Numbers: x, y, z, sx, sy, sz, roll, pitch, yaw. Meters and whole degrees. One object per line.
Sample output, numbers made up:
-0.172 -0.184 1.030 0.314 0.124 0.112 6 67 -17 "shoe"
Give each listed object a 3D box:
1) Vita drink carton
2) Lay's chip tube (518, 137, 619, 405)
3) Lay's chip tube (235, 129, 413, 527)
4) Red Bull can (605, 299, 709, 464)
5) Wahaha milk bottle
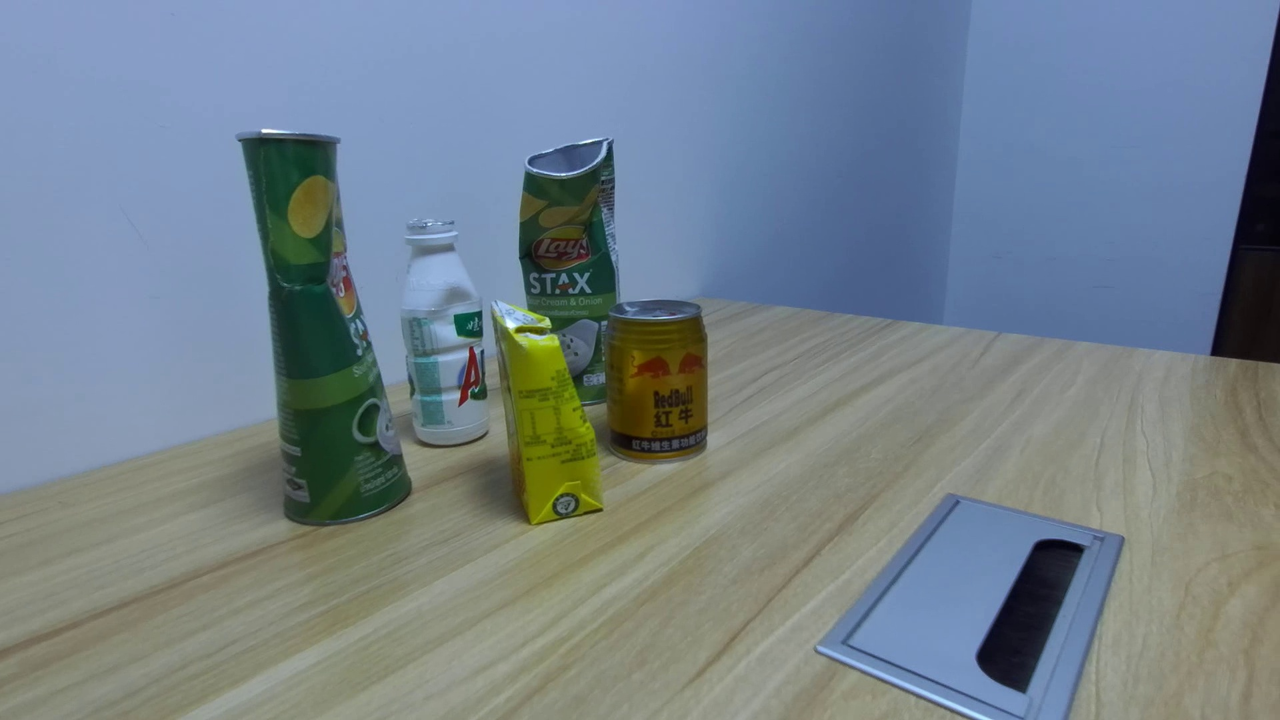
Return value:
-0.050 0.024 0.385 0.046 0.109 0.071 -9 17 -16 "Vita drink carton"
-0.049 -0.062 0.537 0.079 0.199 0.071 -8 24 -15 "Lay's chip tube"
-0.171 -0.015 0.378 0.074 0.199 0.069 9 19 35 "Lay's chip tube"
0.011 0.012 0.454 0.067 0.093 0.067 -1 14 1 "Red Bull can"
-0.131 -0.018 0.473 0.055 0.149 0.055 -1 15 0 "Wahaha milk bottle"
